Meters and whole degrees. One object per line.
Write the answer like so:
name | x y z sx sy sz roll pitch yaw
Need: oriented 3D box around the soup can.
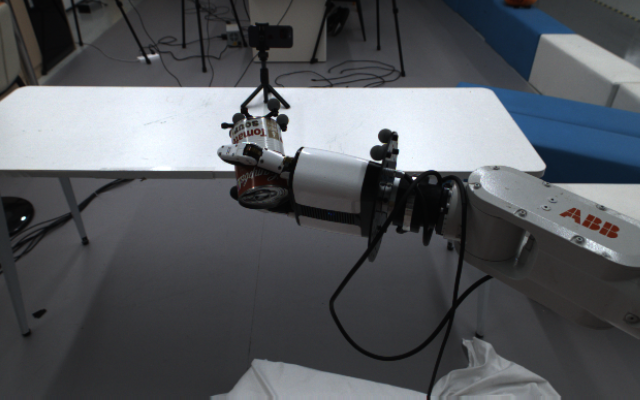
soup can | -0.076 -0.047 0.625 0.067 0.067 0.101 -6 67 -12
